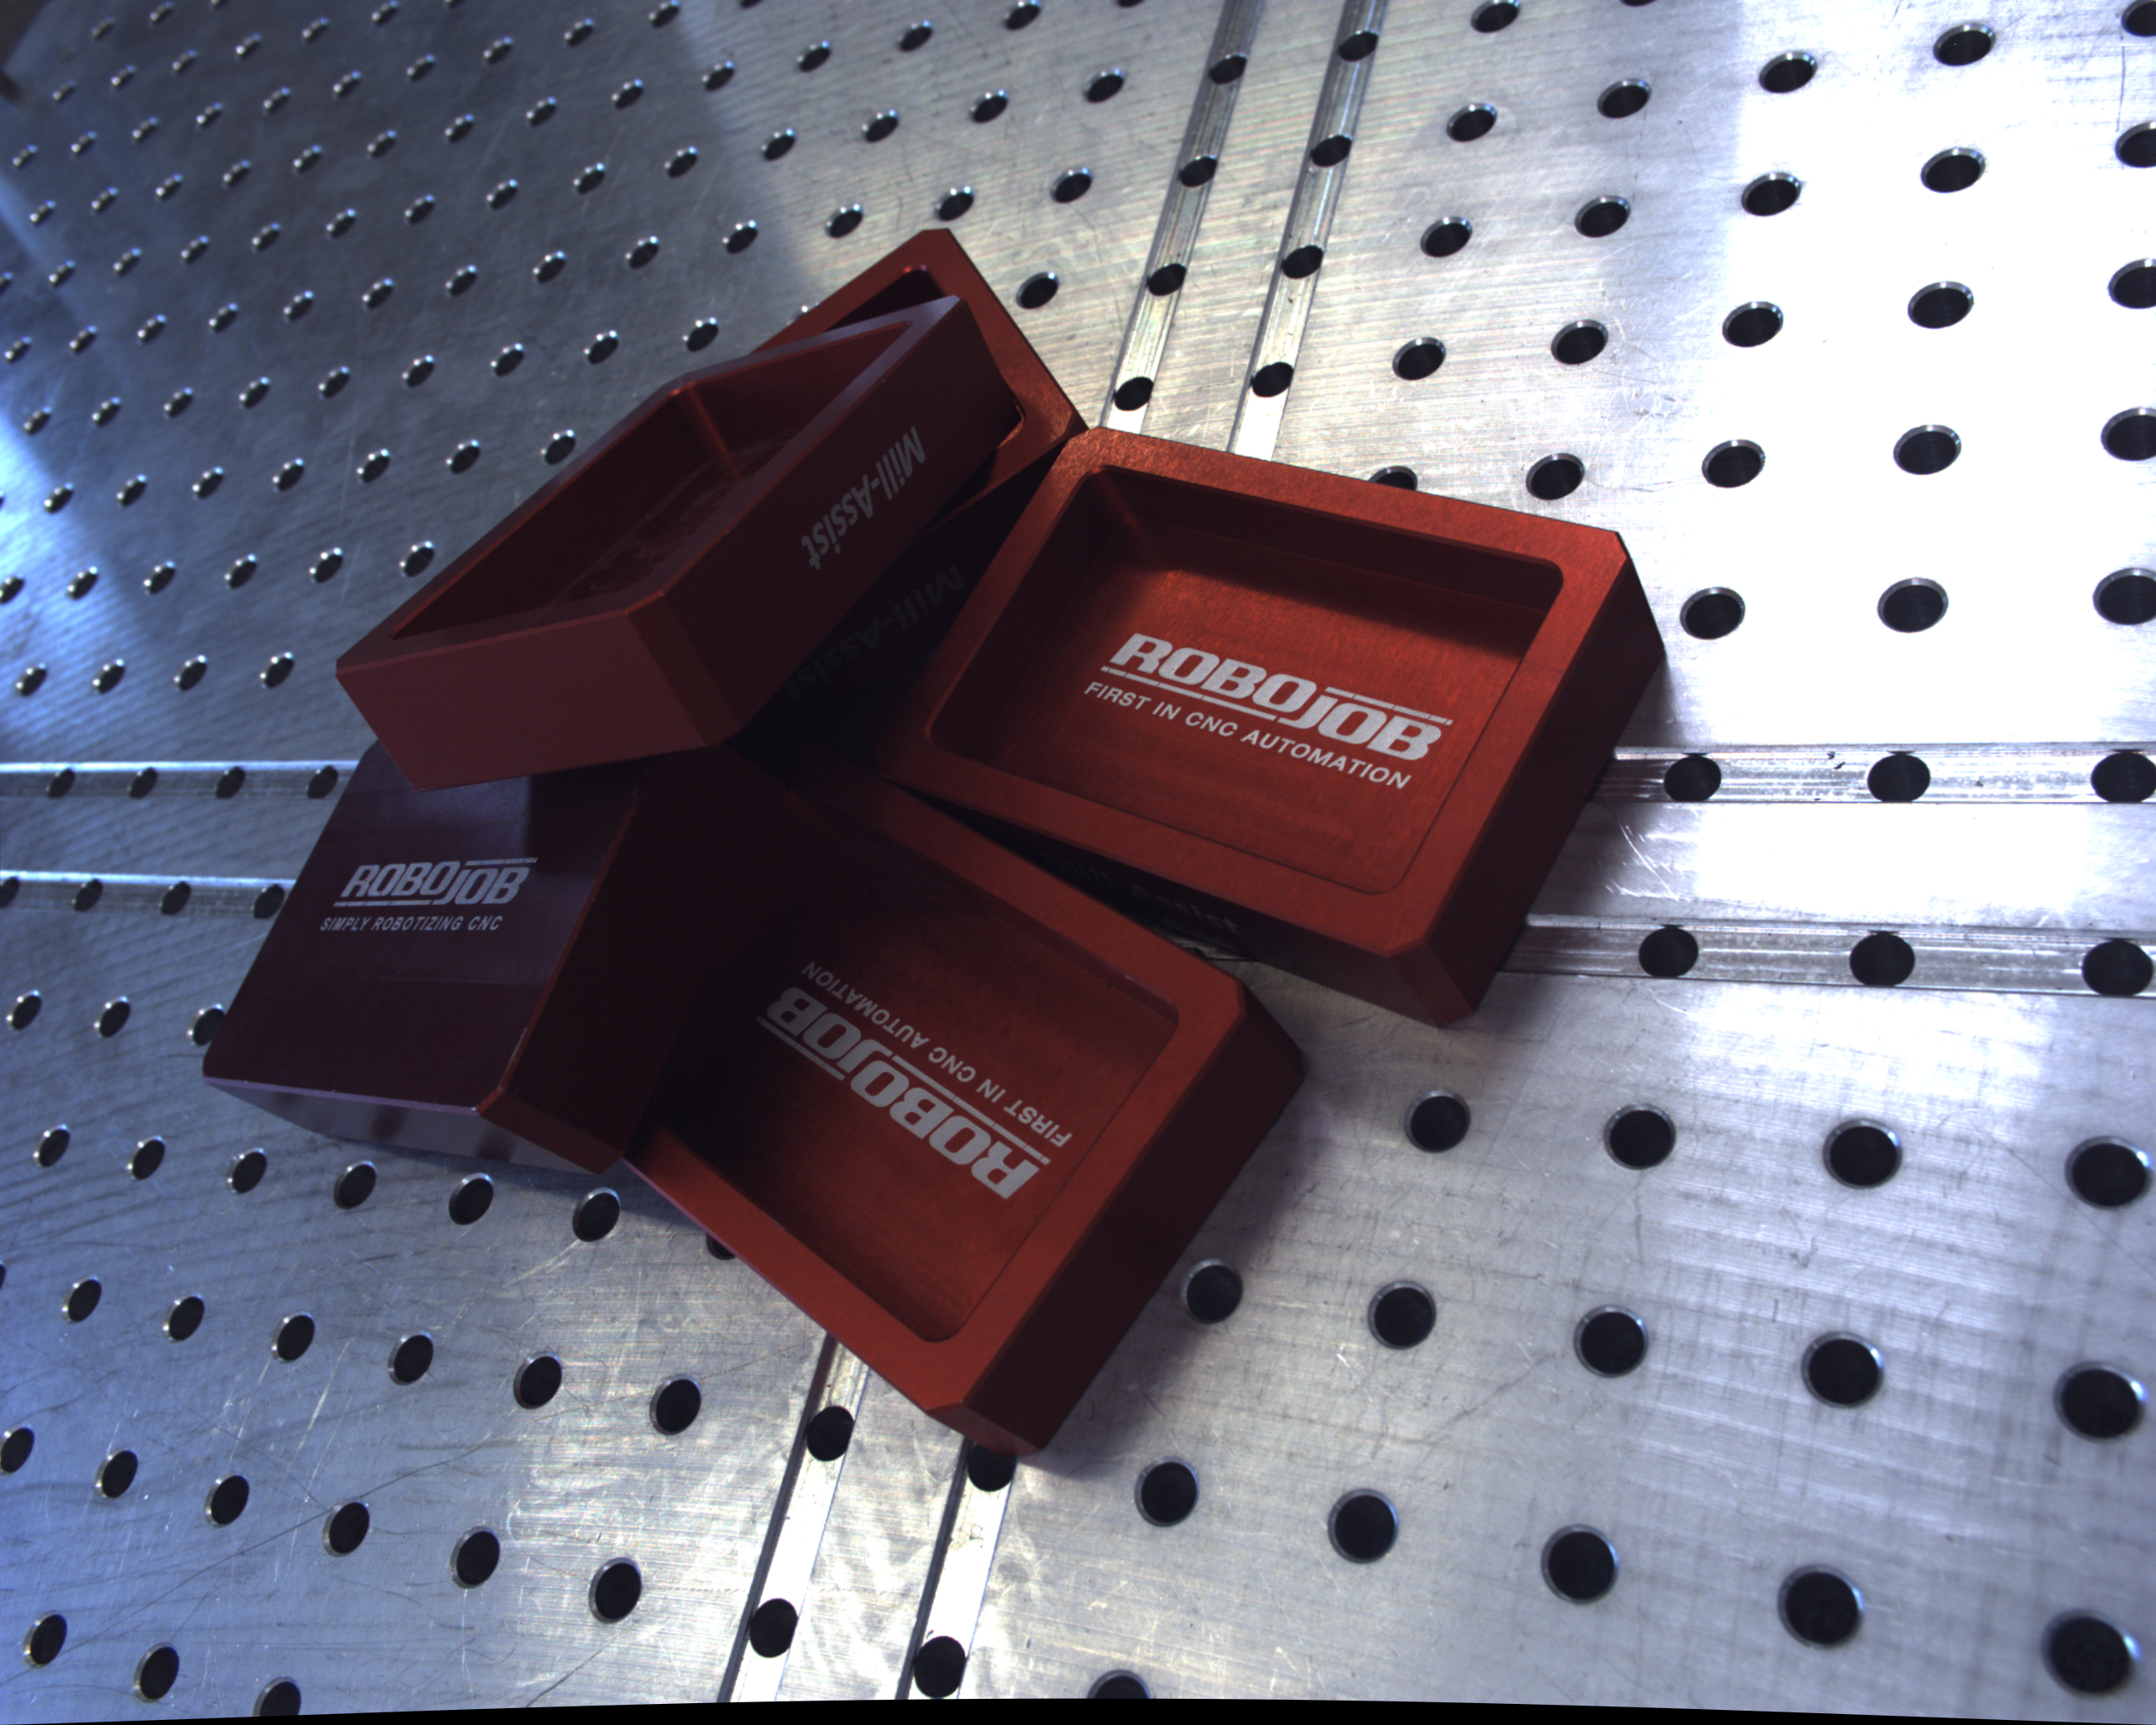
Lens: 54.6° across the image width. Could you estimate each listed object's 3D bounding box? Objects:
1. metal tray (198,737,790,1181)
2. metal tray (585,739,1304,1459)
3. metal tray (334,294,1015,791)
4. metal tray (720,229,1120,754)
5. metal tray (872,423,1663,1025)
[{"bbox_3d":[-0.127,0.014,0.442,0.130,0.030,0.090,-1,61,44],"label":"metal tray"},{"bbox_3d":[-0.034,0.039,0.398,0.130,0.030,0.090,28,78,37],"label":"metal tray"},{"bbox_3d":[-0.080,-0.069,0.435,0.090,0.030,0.130,-6,35,34],"label":"metal tray"},{"bbox_3d":[-0.063,-0.081,0.488,0.130,0.030,0.090,-34,50,5],"label":"metal tray"},{"bbox_3d":[0.034,-0.032,0.406,0.130,0.030,0.090,20,73,35],"label":"metal tray"}]
